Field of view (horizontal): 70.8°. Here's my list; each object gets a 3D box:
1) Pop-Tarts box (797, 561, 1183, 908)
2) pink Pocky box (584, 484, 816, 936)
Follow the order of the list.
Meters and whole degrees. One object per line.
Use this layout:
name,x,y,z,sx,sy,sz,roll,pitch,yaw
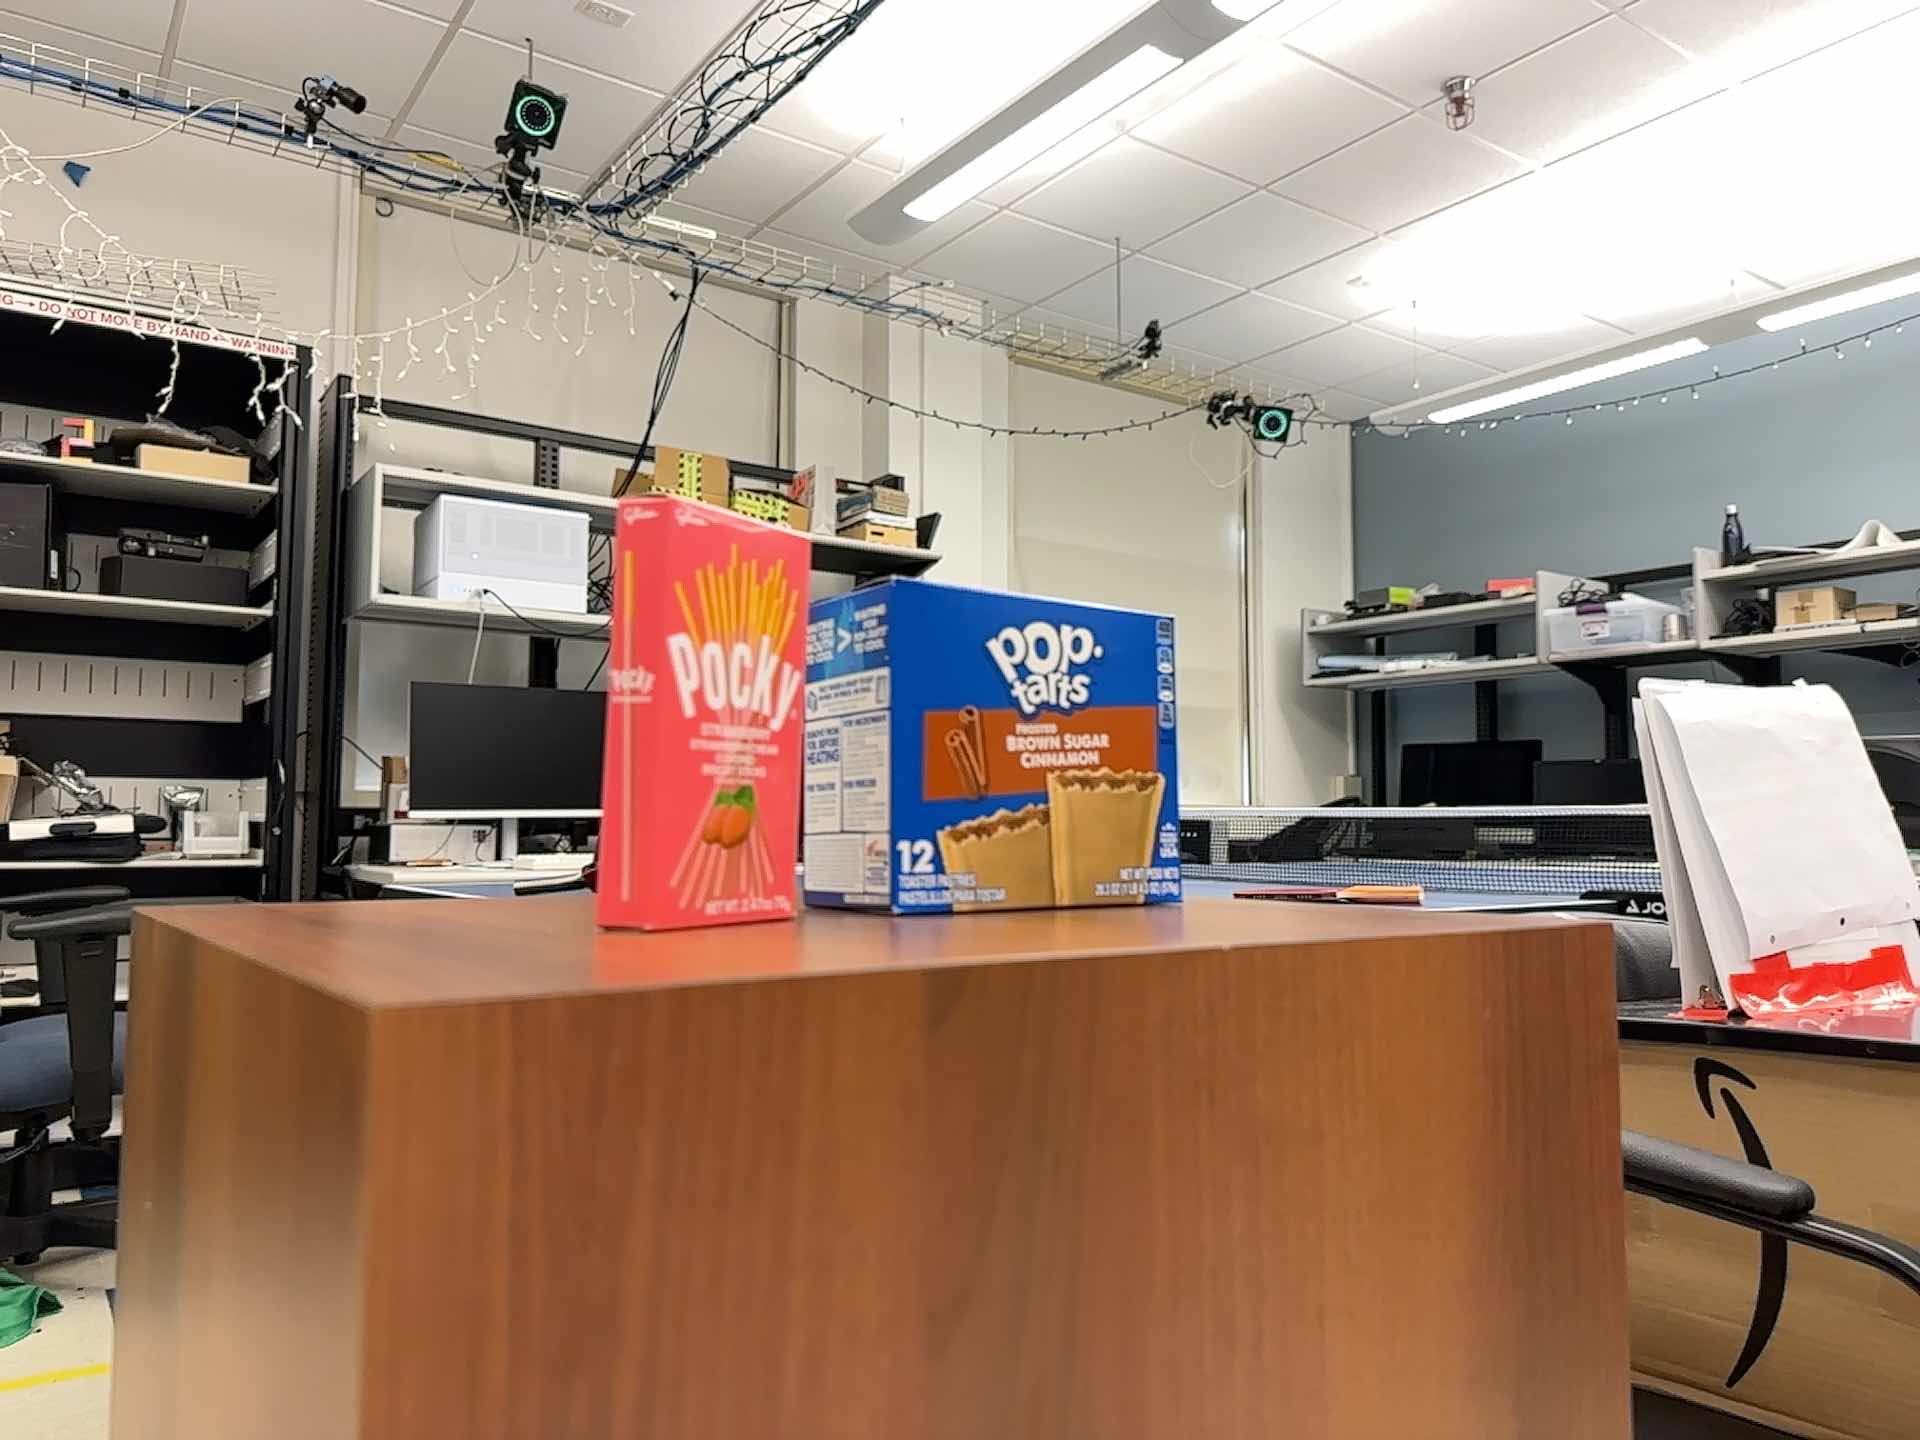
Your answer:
Pop-Tarts box,0.016,0.014,0.618,0.161,0.135,0.075,7,-9,-36
pink Pocky box,-0.092,-0.001,0.494,0.029,0.155,0.084,0,-5,33
